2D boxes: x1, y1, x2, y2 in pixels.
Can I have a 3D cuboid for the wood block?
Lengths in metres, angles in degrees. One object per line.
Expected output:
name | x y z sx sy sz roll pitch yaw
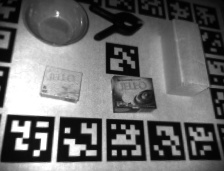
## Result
wood block | 0.218 -0.083 0.636 0.090 0.090 0.205 8 68 -15

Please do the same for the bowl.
bowl | -0.147 -0.167 0.580 0.163 0.055 0.161 6 71 -16

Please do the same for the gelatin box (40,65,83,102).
gelatin box | -0.122 -0.004 0.532 0.090 0.030 0.073 12 69 -13

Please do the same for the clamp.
clamp | 0.006 -0.190 0.649 0.166 0.036 0.121 -5 72 -21

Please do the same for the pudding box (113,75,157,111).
pudding box | 0.059 0.022 0.577 0.114 0.038 0.090 3 73 -14
